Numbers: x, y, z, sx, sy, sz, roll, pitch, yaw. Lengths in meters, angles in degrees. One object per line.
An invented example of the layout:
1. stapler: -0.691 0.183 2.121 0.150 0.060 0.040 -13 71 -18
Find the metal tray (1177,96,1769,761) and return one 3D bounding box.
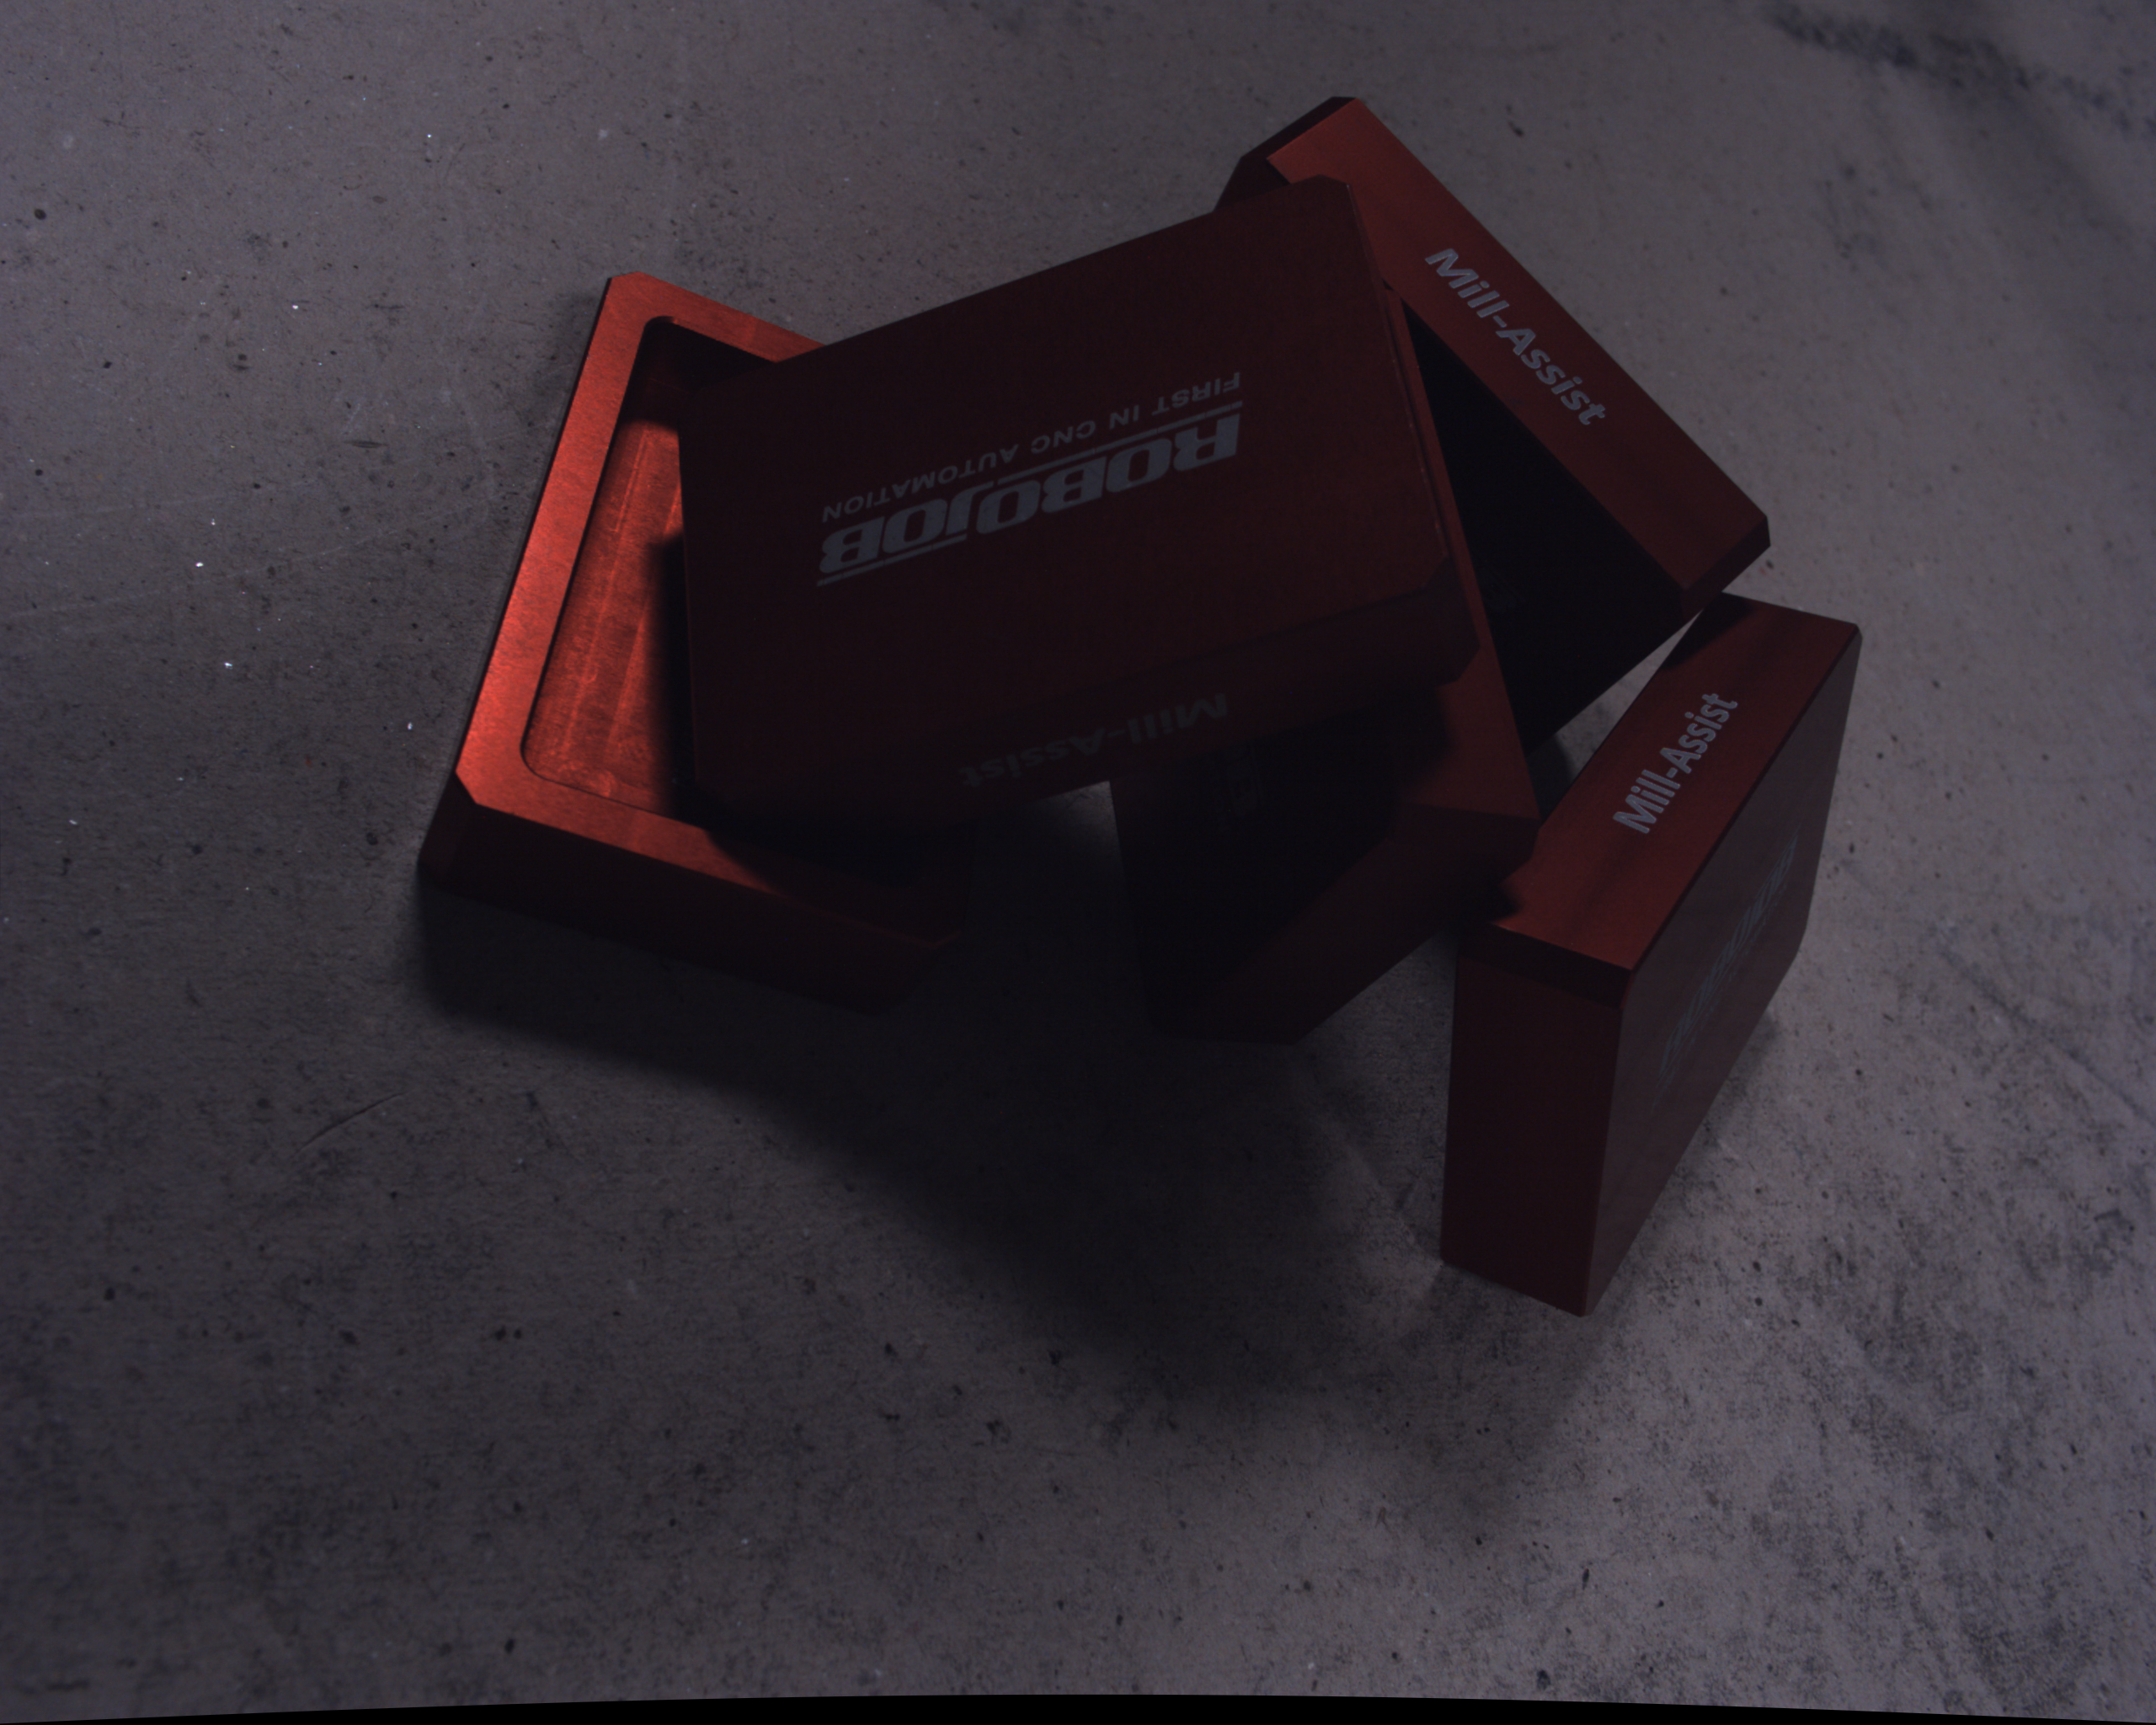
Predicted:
1. metal tray: 0.076 -0.091 0.459 0.030 0.090 0.130 -41 85 -25

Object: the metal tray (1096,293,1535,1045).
1. metal tray: 0.038 -0.040 0.411 0.030 0.090 0.130 6 60 -26

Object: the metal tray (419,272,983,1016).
1. metal tray: -0.062 -0.044 0.397 0.091 0.030 0.130 18 54 -18

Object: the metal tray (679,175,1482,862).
1. metal tray: -0.004 -0.059 0.368 0.130 0.030 0.090 -15 62 13

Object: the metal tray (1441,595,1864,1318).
1. metal tray: 0.116 0.016 0.418 0.030 0.089 0.131 20 45 28
